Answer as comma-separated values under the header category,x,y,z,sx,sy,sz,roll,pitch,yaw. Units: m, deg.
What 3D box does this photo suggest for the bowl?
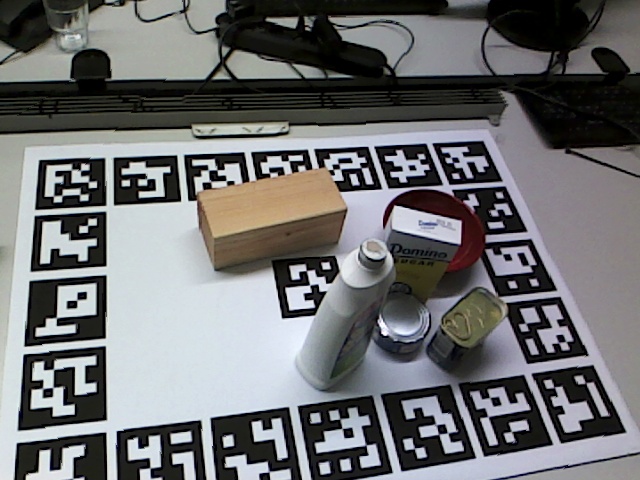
category,x,y,z,sx,sy,sz,roll,pitch,yaw
bowl,0.183,-0.006,0.983,0.161,0.055,0.162,2,53,-3

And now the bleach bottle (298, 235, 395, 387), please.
category,x,y,z,sx,sy,sz,roll,pitch,yaw
bleach bottle,0.035,0.086,0.766,0.102,0.250,0.068,-28,61,-27

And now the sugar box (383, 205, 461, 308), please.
category,x,y,z,sx,sy,sz,roll,pitch,yaw
sugar box,0.131,0.028,0.869,0.093,0.176,0.045,11,54,3

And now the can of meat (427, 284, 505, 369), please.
category,x,y,z,sx,sy,sz,roll,pitch,yaw
can of meat,0.203,0.124,0.873,0.101,0.083,0.058,-32,61,-30

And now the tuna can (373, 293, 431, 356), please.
category,x,y,z,sx,sy,sz,roll,pitch,yaw
tuna can,0.112,0.121,0.884,0.085,0.033,0.086,4,55,-6

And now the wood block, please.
category,x,y,z,sx,sy,sz,roll,pitch,yaw
wood block,-0.075,-0.030,0.942,0.205,0.090,0.091,-12,60,-19
